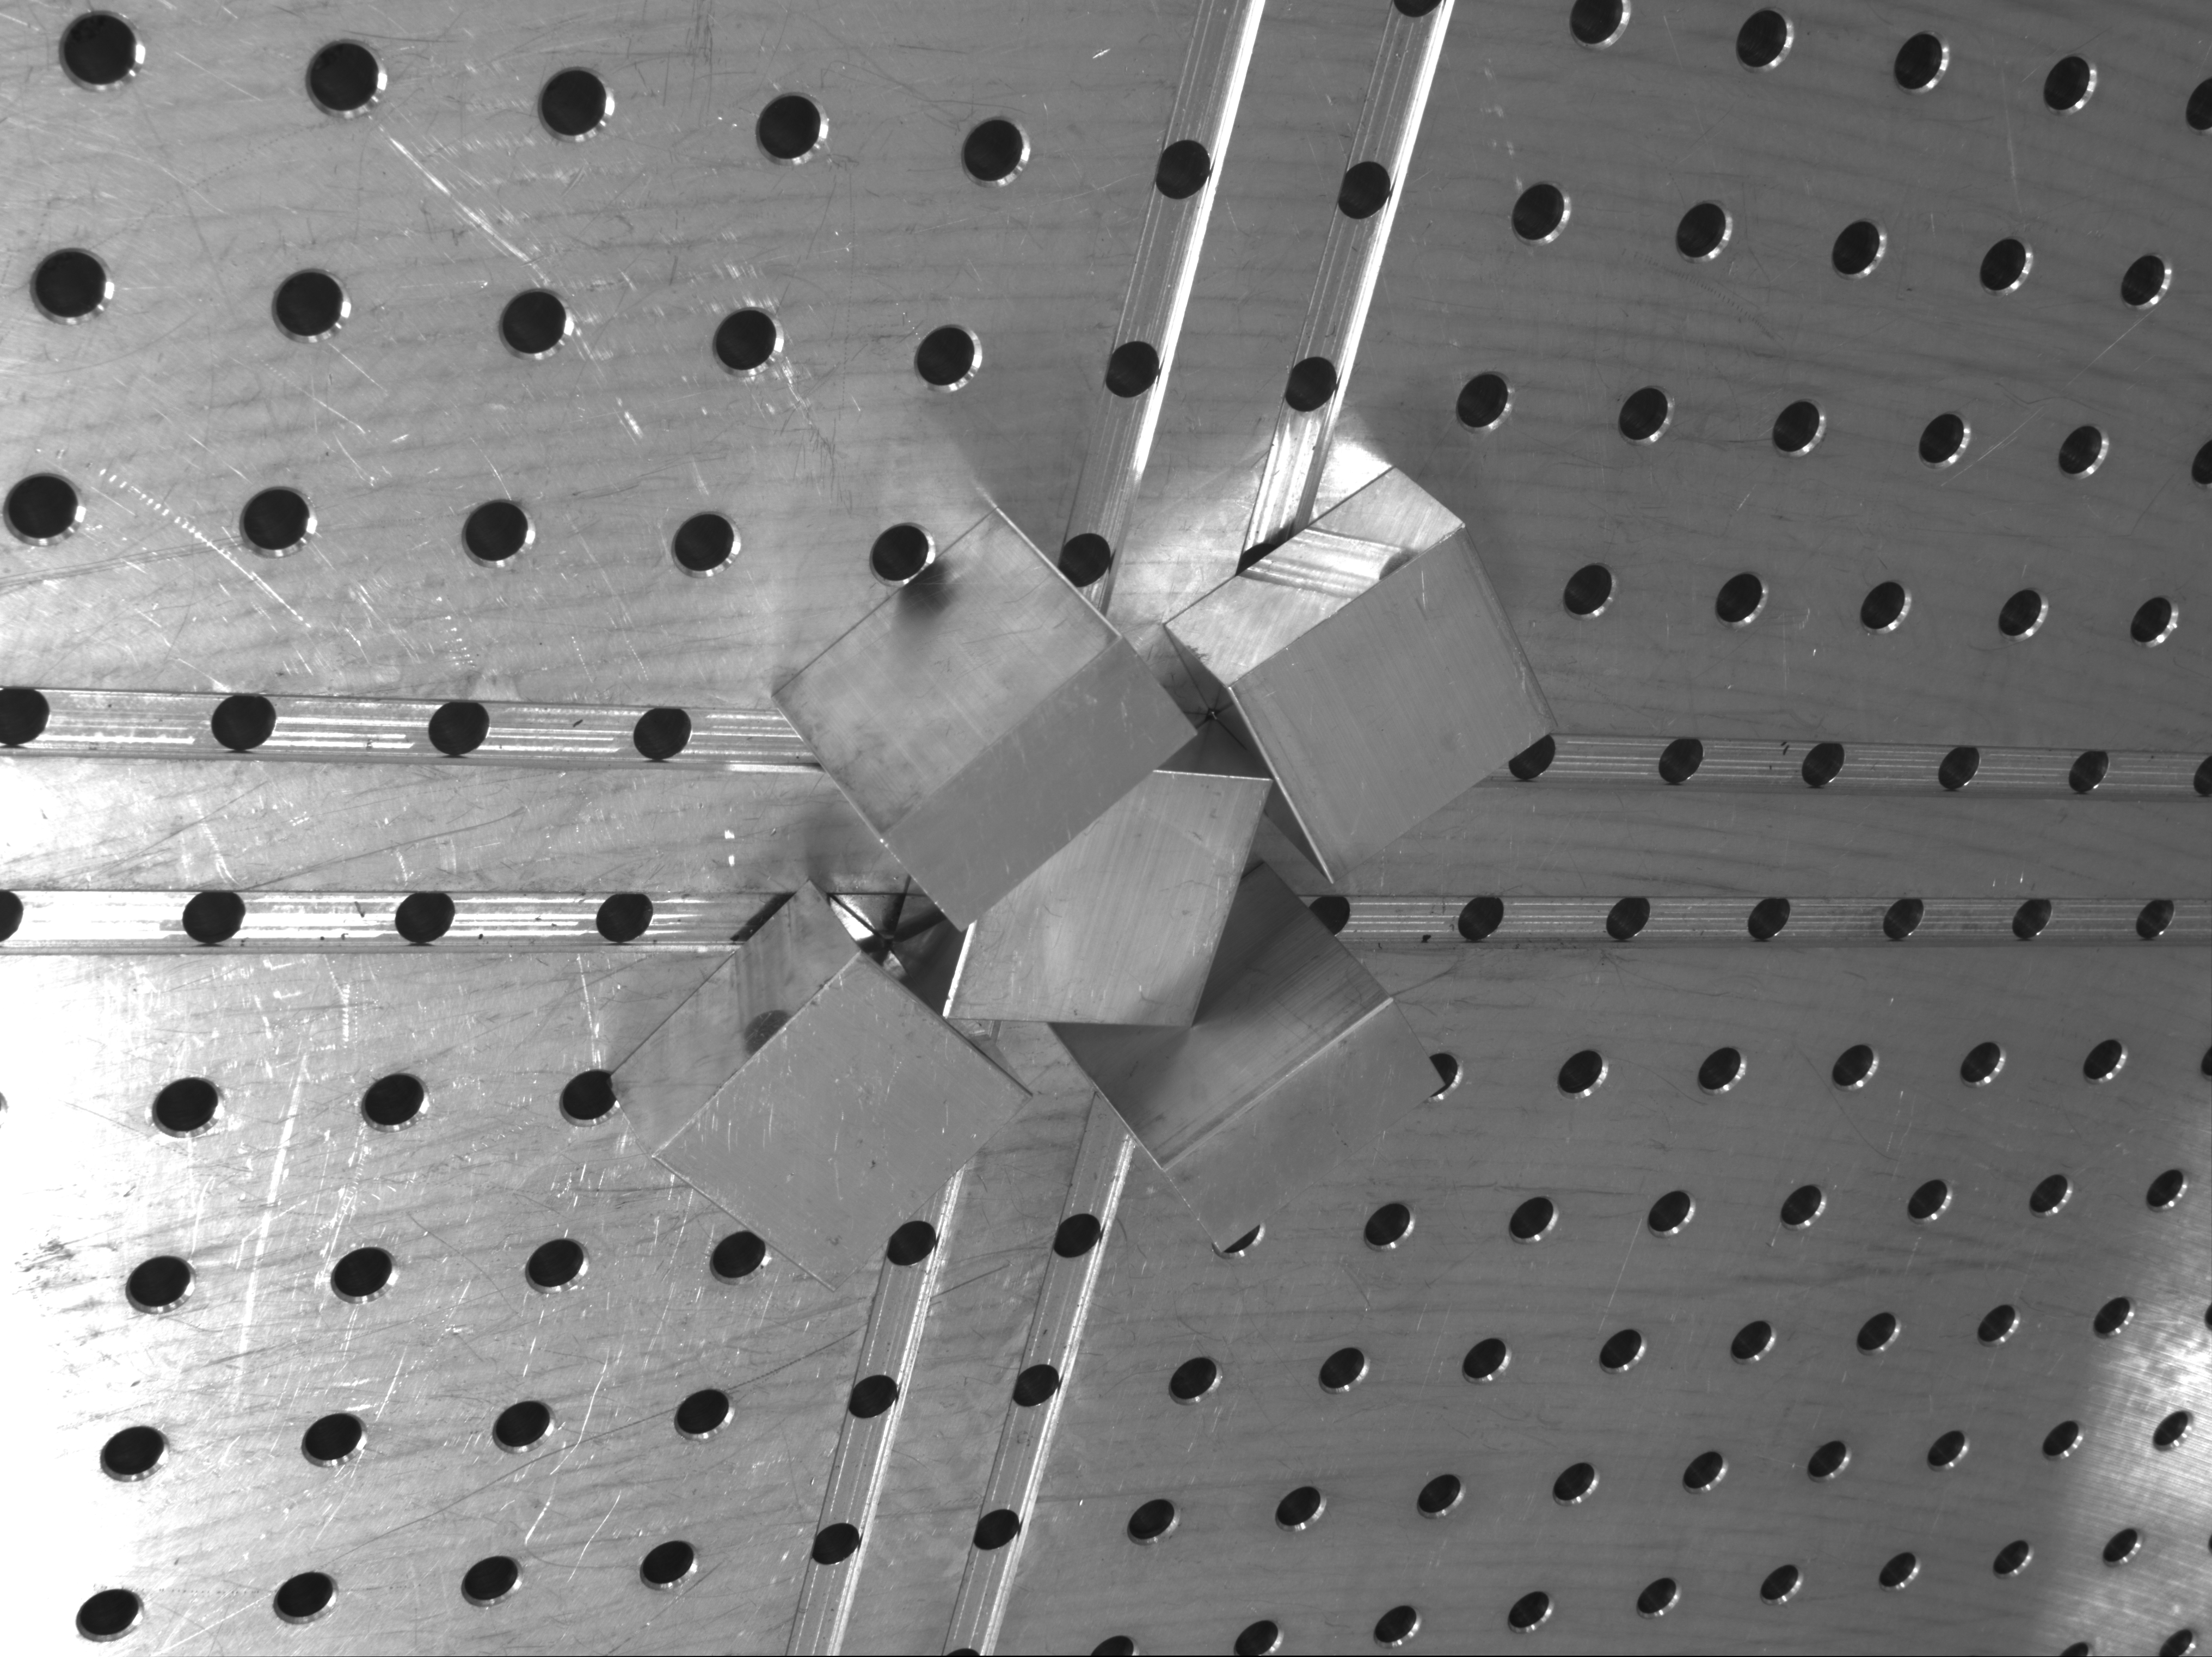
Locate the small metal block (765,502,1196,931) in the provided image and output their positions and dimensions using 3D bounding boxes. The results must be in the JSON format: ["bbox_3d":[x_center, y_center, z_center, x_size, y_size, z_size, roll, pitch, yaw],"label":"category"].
[{"bbox_3d":[-0.021,-0.019,0.601,0.050,0.050,0.025,-39,130,-1],"label":"small metal block"}]

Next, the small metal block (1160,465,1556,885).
[{"bbox_3d":[0.045,-0.027,0.648,0.050,0.025,0.050,-34,129,-5],"label":"small metal block"}]

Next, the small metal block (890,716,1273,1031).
[{"bbox_3d":[-0.005,0.006,0.641,0.050,0.025,0.050,4,115,-29],"label":"small metal block"}]

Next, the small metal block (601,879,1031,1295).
[{"bbox_3d":[-0.050,0.045,0.641,0.050,0.025,0.050,-45,129,2],"label":"small metal block"}]

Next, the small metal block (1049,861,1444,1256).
[{"bbox_3d":[0.024,0.041,0.662,0.050,0.050,0.025,-37,128,-4],"label":"small metal block"}]
